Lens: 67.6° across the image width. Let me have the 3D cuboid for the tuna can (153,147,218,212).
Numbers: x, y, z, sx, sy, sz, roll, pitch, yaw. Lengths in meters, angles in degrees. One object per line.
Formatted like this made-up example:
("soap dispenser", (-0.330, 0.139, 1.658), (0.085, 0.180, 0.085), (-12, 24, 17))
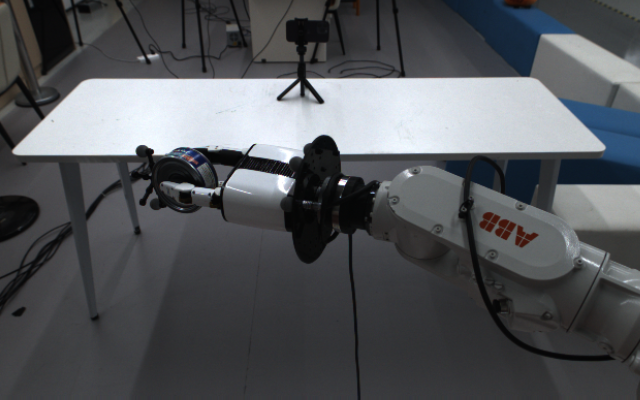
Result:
("tuna can", (-0.180, -0.023, 0.650), (0.085, 0.085, 0.034), (12, 29, 14))
